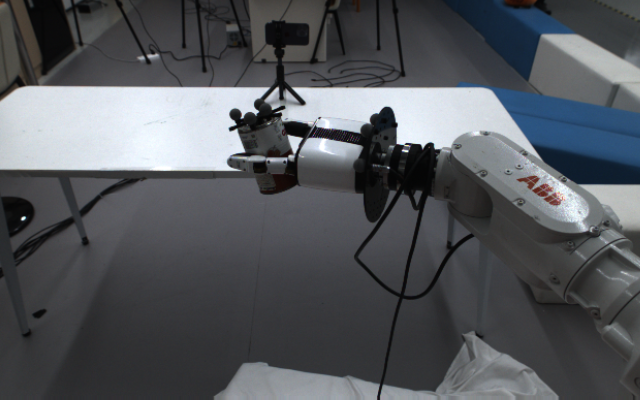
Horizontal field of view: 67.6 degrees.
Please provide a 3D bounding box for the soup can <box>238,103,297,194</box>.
[{"bbox_3d":[-0.073,-0.067,0.712,0.067,0.101,0.067,-16,23,7],"label":"soup can"}]
